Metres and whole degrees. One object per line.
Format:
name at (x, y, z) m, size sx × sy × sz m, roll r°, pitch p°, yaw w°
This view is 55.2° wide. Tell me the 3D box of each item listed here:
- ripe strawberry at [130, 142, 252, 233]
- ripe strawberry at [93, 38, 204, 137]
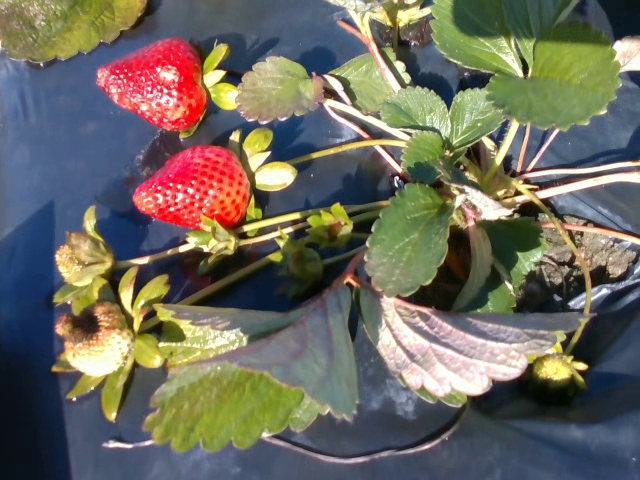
ripe strawberry at (-0.050, -0.018, 0.227) m, size 0.049 × 0.039 × 0.042 m, roll -12°, pitch 14°, yaw -40°
ripe strawberry at (-0.076, -0.071, 0.269) m, size 0.050 × 0.051 × 0.045 m, roll 7°, pitch -29°, yaw -24°
